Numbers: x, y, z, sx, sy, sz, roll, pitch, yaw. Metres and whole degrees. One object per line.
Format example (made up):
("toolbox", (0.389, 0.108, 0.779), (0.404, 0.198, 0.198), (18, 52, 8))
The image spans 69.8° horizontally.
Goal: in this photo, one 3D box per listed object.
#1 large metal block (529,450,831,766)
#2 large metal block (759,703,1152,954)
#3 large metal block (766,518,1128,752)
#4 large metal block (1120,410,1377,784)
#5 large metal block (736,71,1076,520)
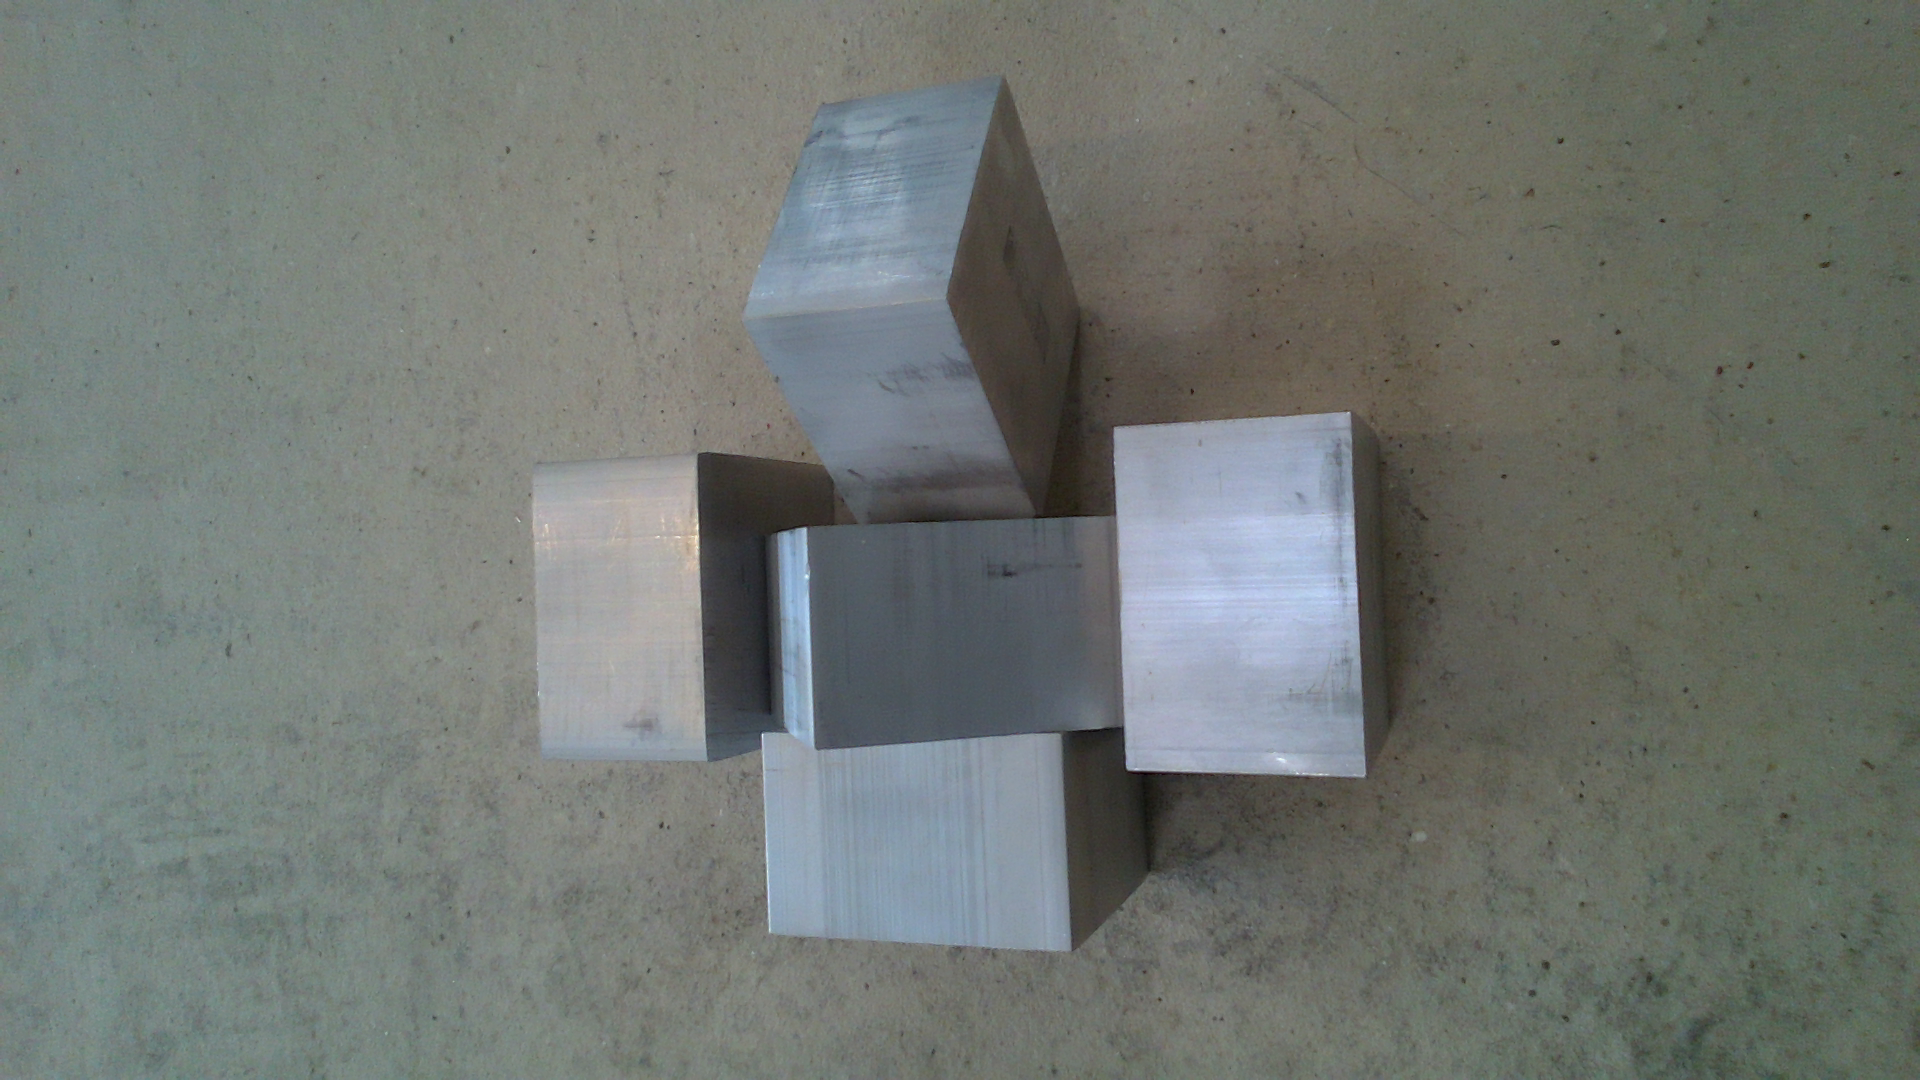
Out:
("large metal block", (-0.076, 0.018, 0.394), (0.050, 0.080, 0.080), (-2, 89, 20))
("large metal block", (0.002, 0.072, 0.367), (0.080, 0.080, 0.050), (-3, 89, 20))
("large metal block", (-0.005, 0.022, 0.354), (0.080, 0.080, 0.050), (-2, 89, -15))
("large metal block", (0.074, 0.014, 0.340), (0.050, 0.080, 0.080), (-2, 88, 19))
("large metal block", (-0.008, -0.059, 0.354), (0.050, 0.080, 0.080), (-3, 52, 20))
